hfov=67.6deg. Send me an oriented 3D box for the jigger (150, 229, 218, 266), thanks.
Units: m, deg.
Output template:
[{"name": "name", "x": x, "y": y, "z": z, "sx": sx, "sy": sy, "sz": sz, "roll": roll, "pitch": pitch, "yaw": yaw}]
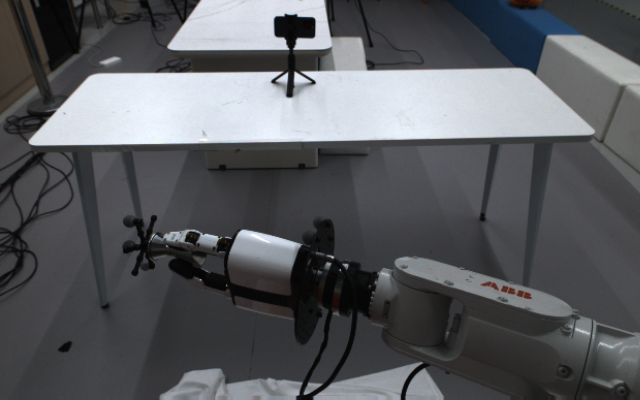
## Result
[{"name": "jigger", "x": -0.188, "y": 0.065, "z": 0.665, "sx": 0.071, "sy": 0.043, "sz": 0.043, "roll": 5, "pitch": 35, "yaw": 13}]
